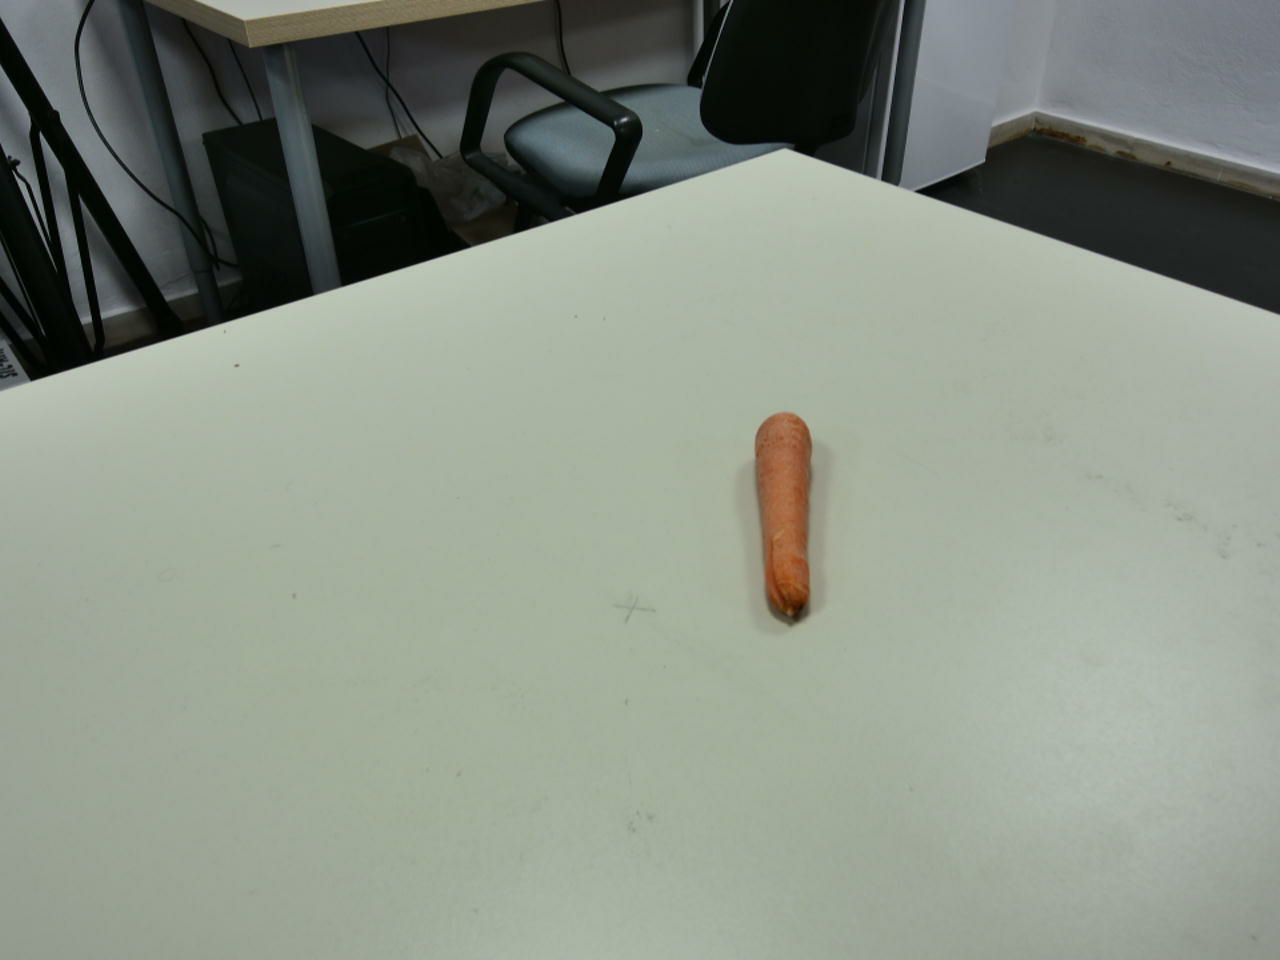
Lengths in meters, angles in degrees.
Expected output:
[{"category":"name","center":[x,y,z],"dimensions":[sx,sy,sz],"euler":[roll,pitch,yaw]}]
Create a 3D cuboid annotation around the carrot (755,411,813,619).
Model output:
[{"category":"carrot","center":[0.068,0.010,0.471],"dimensions":[0.030,0.032,0.136],"euler":[3,35,6]}]
